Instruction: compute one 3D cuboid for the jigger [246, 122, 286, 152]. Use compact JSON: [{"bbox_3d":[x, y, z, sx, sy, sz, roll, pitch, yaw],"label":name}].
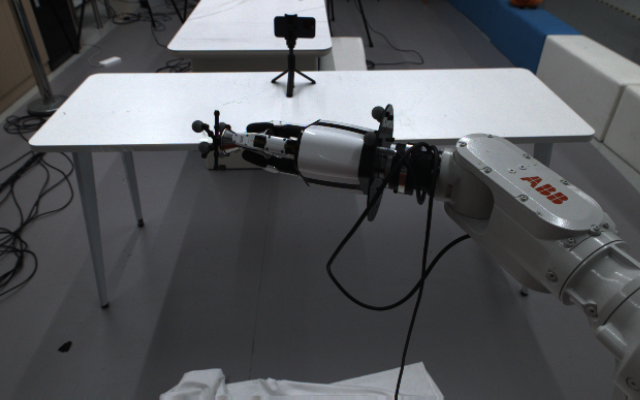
[{"bbox_3d":[-0.102,-0.090,0.710,0.071,0.043,0.043,4,34,16],"label":"jigger"}]
